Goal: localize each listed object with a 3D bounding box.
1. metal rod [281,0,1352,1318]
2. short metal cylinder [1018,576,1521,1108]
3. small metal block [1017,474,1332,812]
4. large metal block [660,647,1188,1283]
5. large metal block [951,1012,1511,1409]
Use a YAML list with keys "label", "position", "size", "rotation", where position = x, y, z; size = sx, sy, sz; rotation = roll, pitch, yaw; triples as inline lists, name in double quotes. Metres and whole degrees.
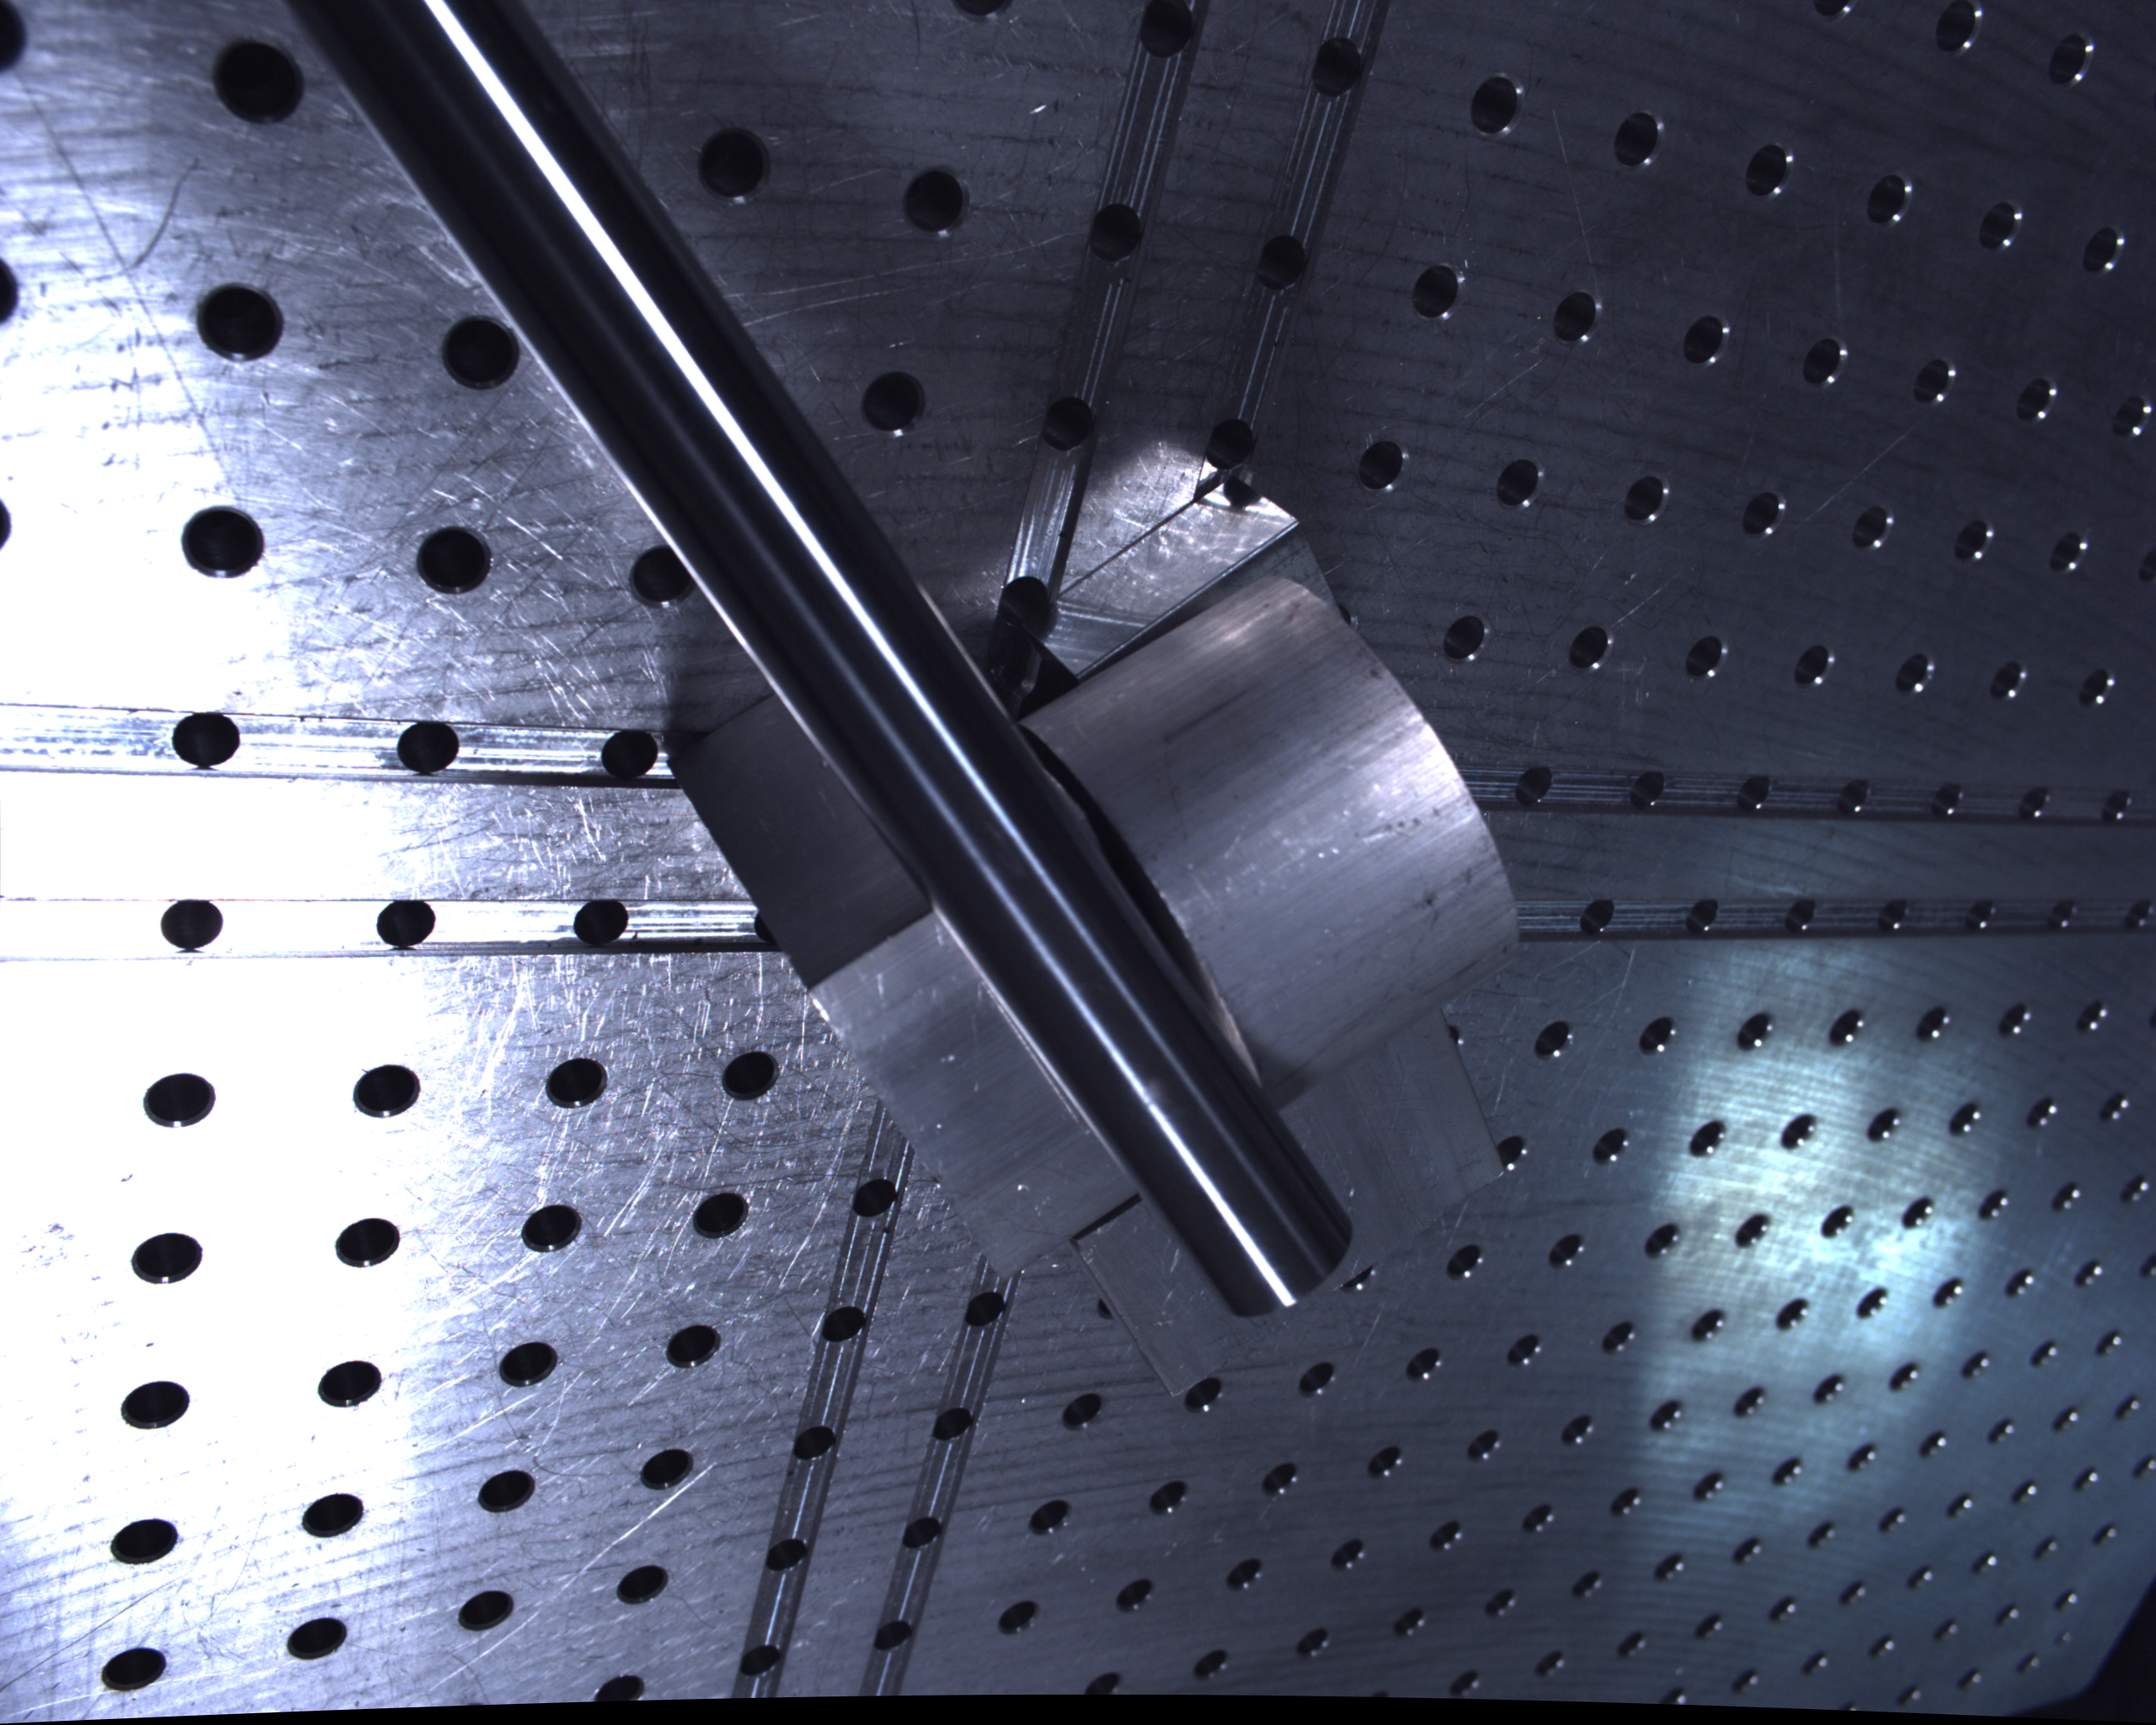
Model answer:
- label: "metal rod"
  position: [-0.048, -0.054, 0.285]
  size: [0.025, 0.025, 0.299]
  rotation: [-36, 108, -5]
- label: "short metal cylinder"
  position: [0.031, -0.002, 0.360]
  size: [0.050, 0.080, 0.080]
  rotation: [-32, 129, -8]
- label: "small metal block"
  position: [0.024, -0.038, 0.403]
  size: [0.050, 0.025, 0.050]
  rotation: [-36, 130, -5]
- label: "large metal block"
  position: [-0.023, 0.014, 0.374]
  size: [0.050, 0.080, 0.080]
  rotation: [-33, 129, -7]
- label: "large metal block"
  position: [0.025, 0.046, 0.417]
  size: [0.080, 0.080, 0.050]
  rotation: [-33, 129, -7]
